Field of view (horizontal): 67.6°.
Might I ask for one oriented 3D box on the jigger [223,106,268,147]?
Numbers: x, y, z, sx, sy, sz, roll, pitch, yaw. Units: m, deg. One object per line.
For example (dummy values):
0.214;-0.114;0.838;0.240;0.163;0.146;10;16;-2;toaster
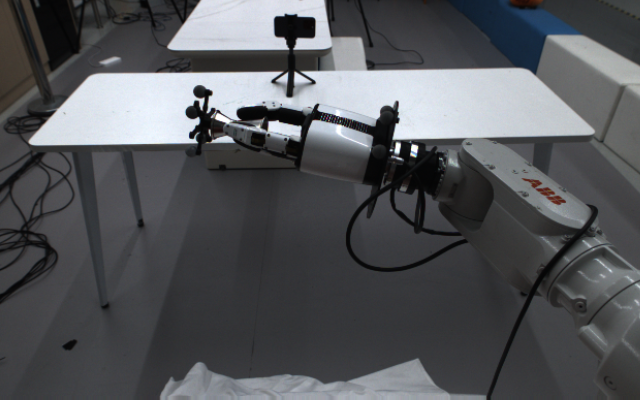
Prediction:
-0.101;-0.097;0.653;0.071;0.043;0.043;10;35;3;jigger
